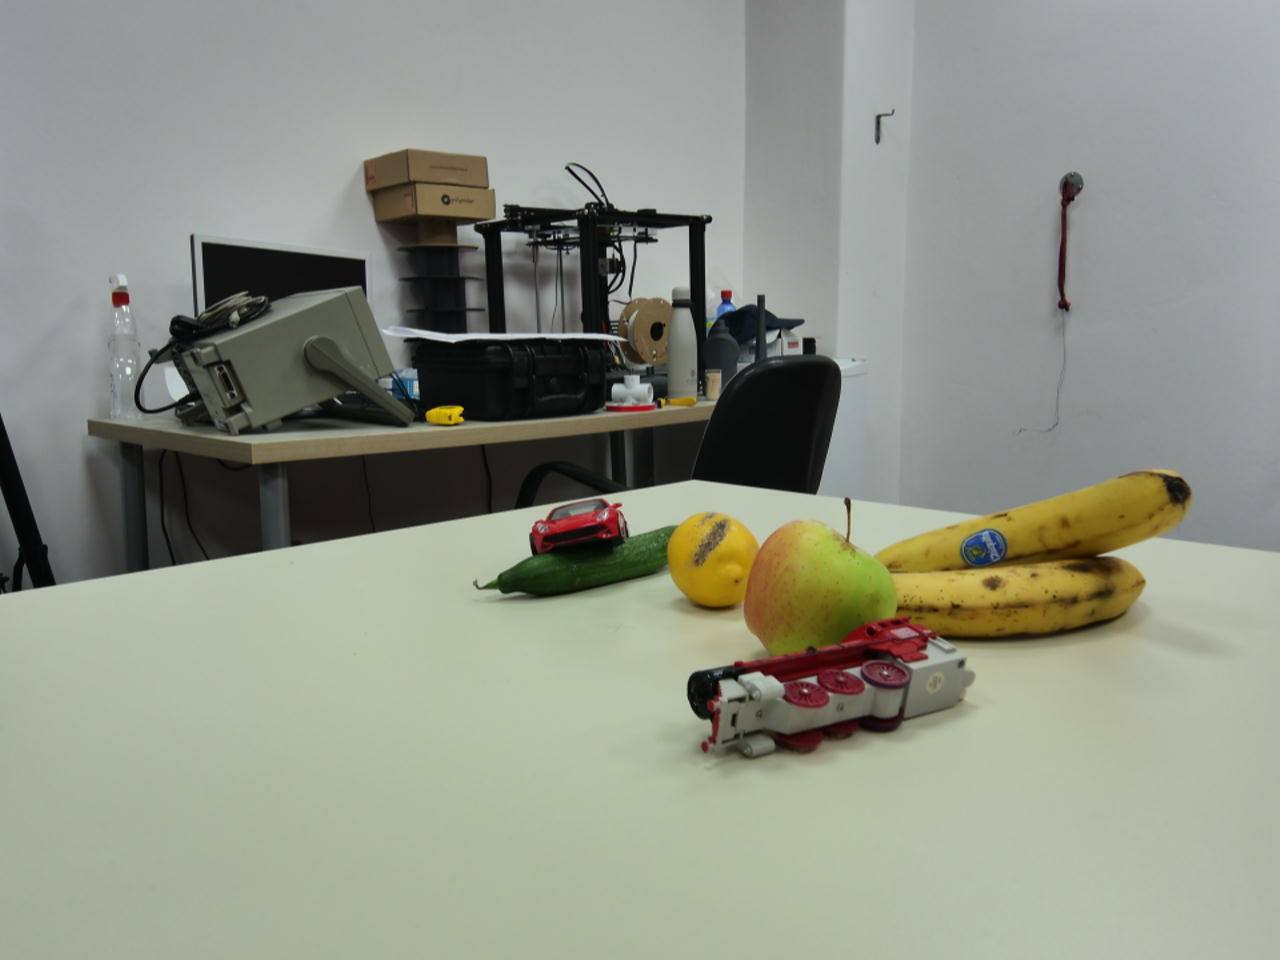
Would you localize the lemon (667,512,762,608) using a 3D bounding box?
[{"bbox_3d":[0.046,0.049,0.614,0.061,0.056,0.058,6,8,38],"label":"lemon"}]
